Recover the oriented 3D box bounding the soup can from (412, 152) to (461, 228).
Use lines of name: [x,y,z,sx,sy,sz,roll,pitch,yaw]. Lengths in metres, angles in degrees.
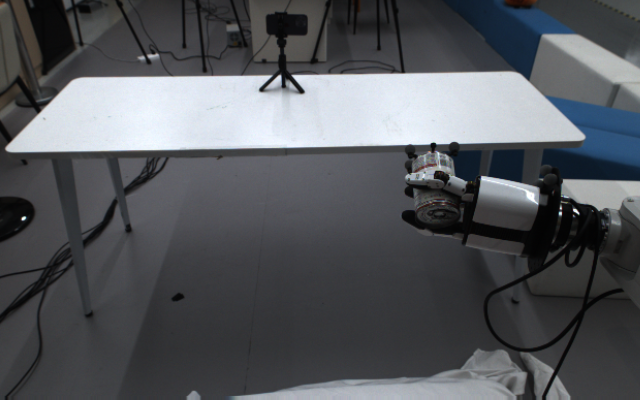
soup can: [0.178,-0.017,0.748,0.067,0.067,0.101,3,57,1]
